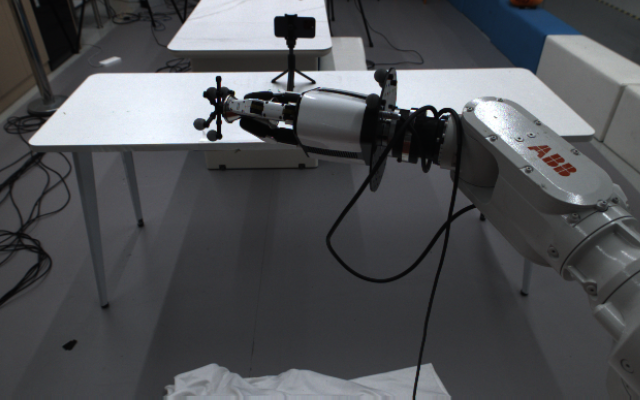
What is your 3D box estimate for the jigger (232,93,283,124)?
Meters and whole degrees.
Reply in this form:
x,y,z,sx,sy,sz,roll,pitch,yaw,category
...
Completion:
x,y,z,sx,sy,sz,roll,pitch,yaw,category
-0.089,-0.127,0.670,0.071,0.043,0.043,8,35,15,jigger
